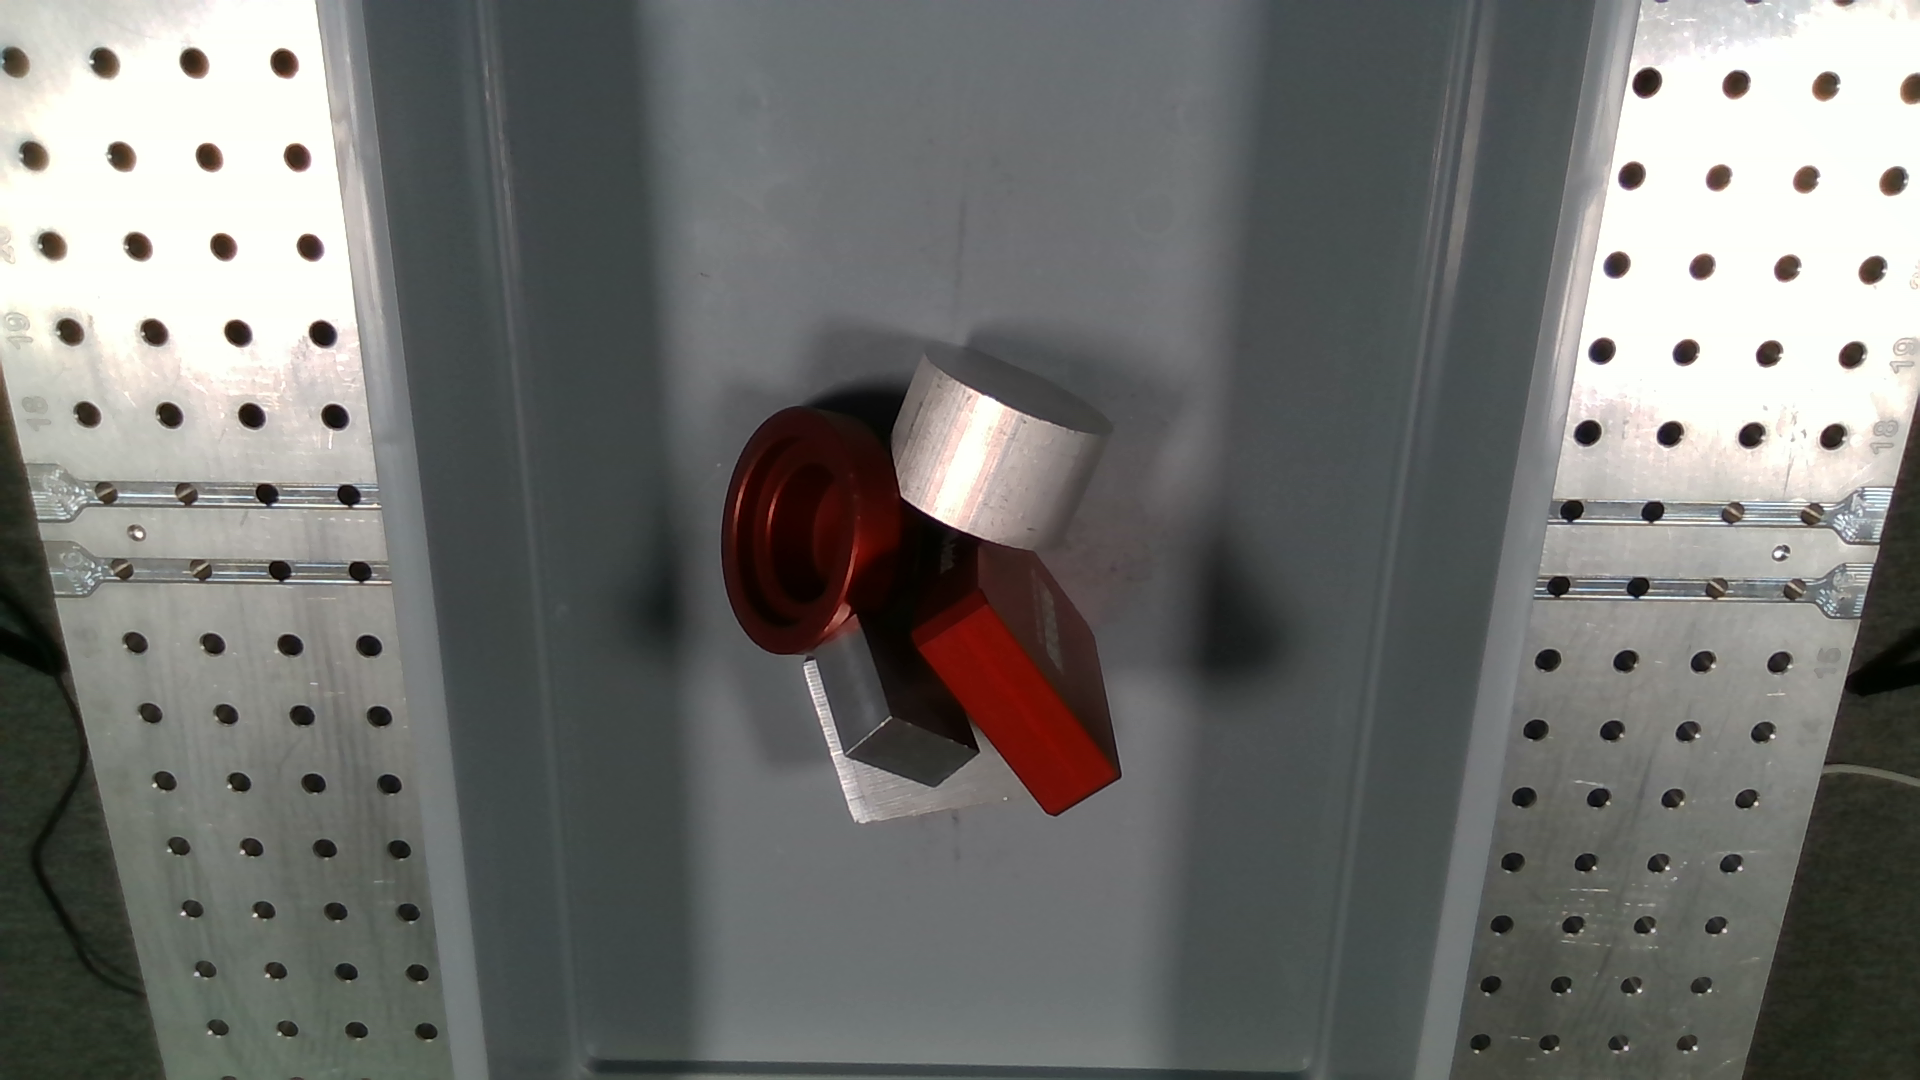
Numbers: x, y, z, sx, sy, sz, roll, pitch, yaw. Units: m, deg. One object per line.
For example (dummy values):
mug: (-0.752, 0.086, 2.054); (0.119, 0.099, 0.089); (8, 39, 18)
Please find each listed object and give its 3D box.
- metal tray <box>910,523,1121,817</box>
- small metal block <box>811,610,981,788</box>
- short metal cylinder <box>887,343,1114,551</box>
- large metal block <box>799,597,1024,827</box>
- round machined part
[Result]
metal tray: (0.021, 0.038, 0.541); (0.030, 0.130, 0.090); (-33, 107, 12)
small metal block: (-0.024, 0.060, 0.520); (0.025, 0.050, 0.050); (-41, 137, 20)
short metal cylinder: (0.013, -0.037, 0.540); (0.080, 0.080, 0.050); (21, 109, -7)
large metal block: (-0.015, 0.068, 0.588); (0.080, 0.050, 0.080); (-12, 110, 9)
round machined part: (-0.053, -0.003, 0.554); (0.042, 0.098, 0.098); (5, 115, -40)
